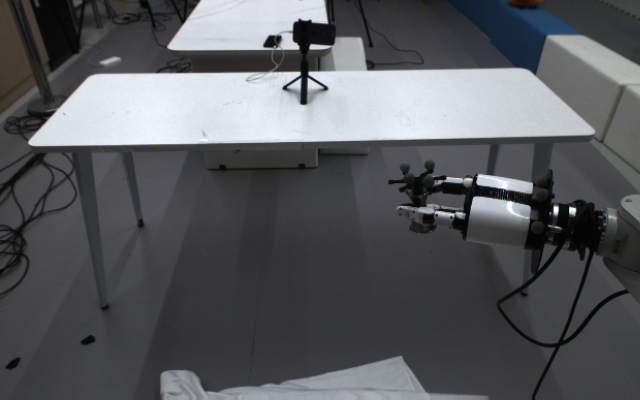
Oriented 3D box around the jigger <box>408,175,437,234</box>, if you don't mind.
[{"bbox_3d":[0.162,0.012,0.780,0.043,0.071,0.043,-11,23,5],"label":"jigger"}]
